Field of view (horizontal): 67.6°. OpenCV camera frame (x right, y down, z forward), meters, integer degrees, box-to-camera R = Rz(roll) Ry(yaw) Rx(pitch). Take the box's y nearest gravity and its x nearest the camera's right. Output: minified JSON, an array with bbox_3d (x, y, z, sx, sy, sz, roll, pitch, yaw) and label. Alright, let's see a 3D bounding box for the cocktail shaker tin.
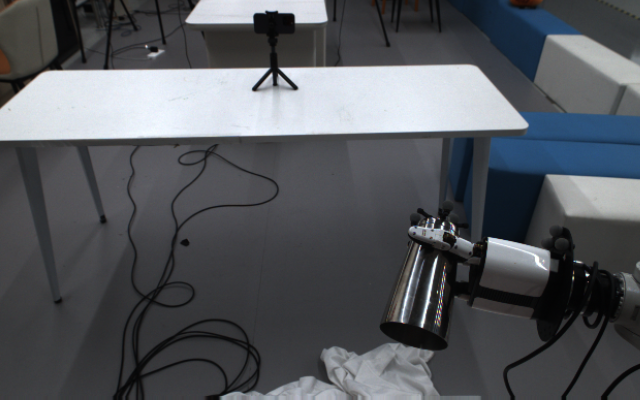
[{"bbox_3d":[0.150,0.108,0.685,0.093,0.093,0.170,13,59,16],"label":"cocktail shaker tin"}]
